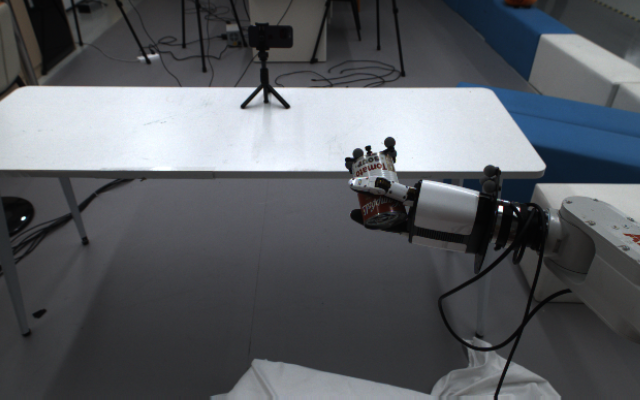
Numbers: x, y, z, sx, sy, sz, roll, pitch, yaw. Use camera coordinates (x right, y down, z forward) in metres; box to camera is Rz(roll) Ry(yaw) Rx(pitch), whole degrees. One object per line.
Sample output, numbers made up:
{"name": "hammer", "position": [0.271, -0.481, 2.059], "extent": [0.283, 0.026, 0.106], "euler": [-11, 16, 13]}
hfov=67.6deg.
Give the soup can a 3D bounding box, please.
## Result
{"name": "soup can", "position": [0.091, -0.014, 0.748], "extent": [0.067, 0.067, 0.101], "euler": [-6, 68, -12]}
